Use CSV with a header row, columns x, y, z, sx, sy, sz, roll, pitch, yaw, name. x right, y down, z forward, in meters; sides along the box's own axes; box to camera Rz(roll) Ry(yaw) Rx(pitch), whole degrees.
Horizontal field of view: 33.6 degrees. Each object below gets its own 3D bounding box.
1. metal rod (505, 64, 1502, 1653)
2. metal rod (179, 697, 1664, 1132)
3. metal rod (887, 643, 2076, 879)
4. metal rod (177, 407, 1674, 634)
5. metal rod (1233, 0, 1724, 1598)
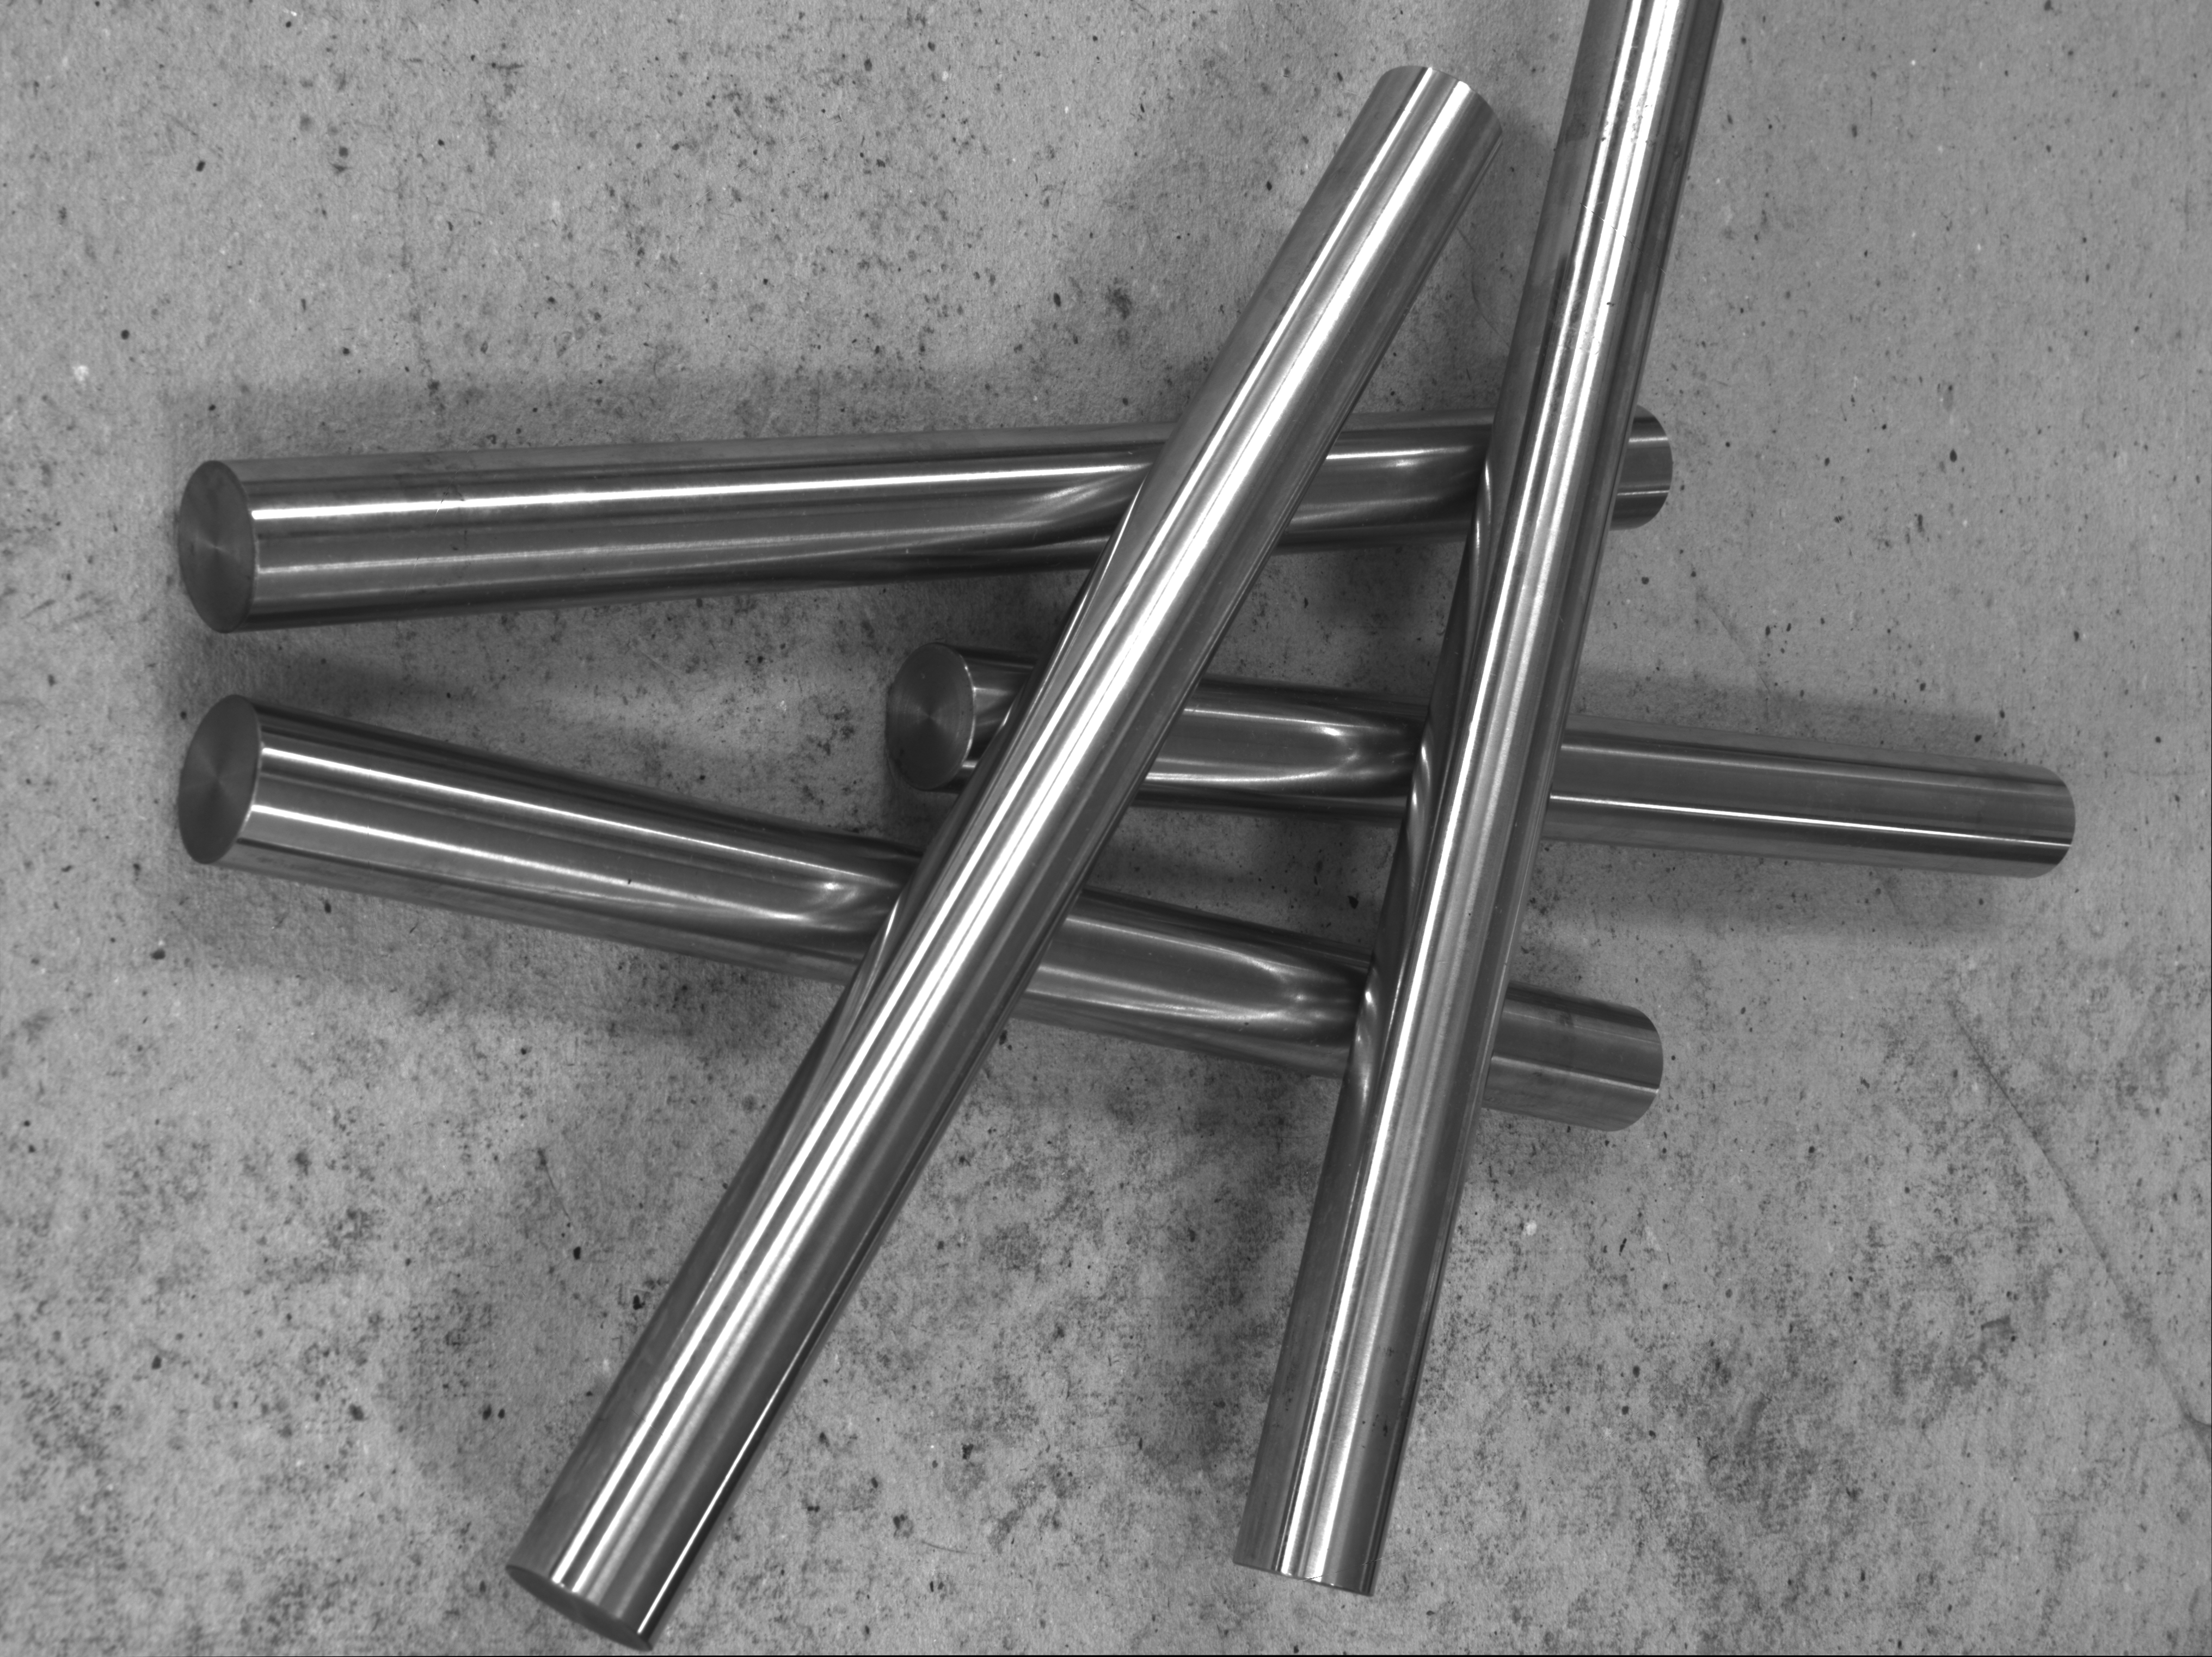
x,y,z,sx,sy,sz,roll,pitch,yaw,name
-0.009,-0.006,0.596,0.025,0.025,0.300,44,64,-31,metal rod
-0.014,0.020,0.624,0.301,0.025,0.025,13,81,-39,metal rod
0.087,-0.010,0.708,0.301,0.025,0.025,4,87,-40,metal rod
-0.013,-0.056,0.625,0.301,0.025,0.025,-8,95,-39,metal rod
0.069,-0.013,0.661,0.025,0.025,0.300,22,76,-37,metal rod
